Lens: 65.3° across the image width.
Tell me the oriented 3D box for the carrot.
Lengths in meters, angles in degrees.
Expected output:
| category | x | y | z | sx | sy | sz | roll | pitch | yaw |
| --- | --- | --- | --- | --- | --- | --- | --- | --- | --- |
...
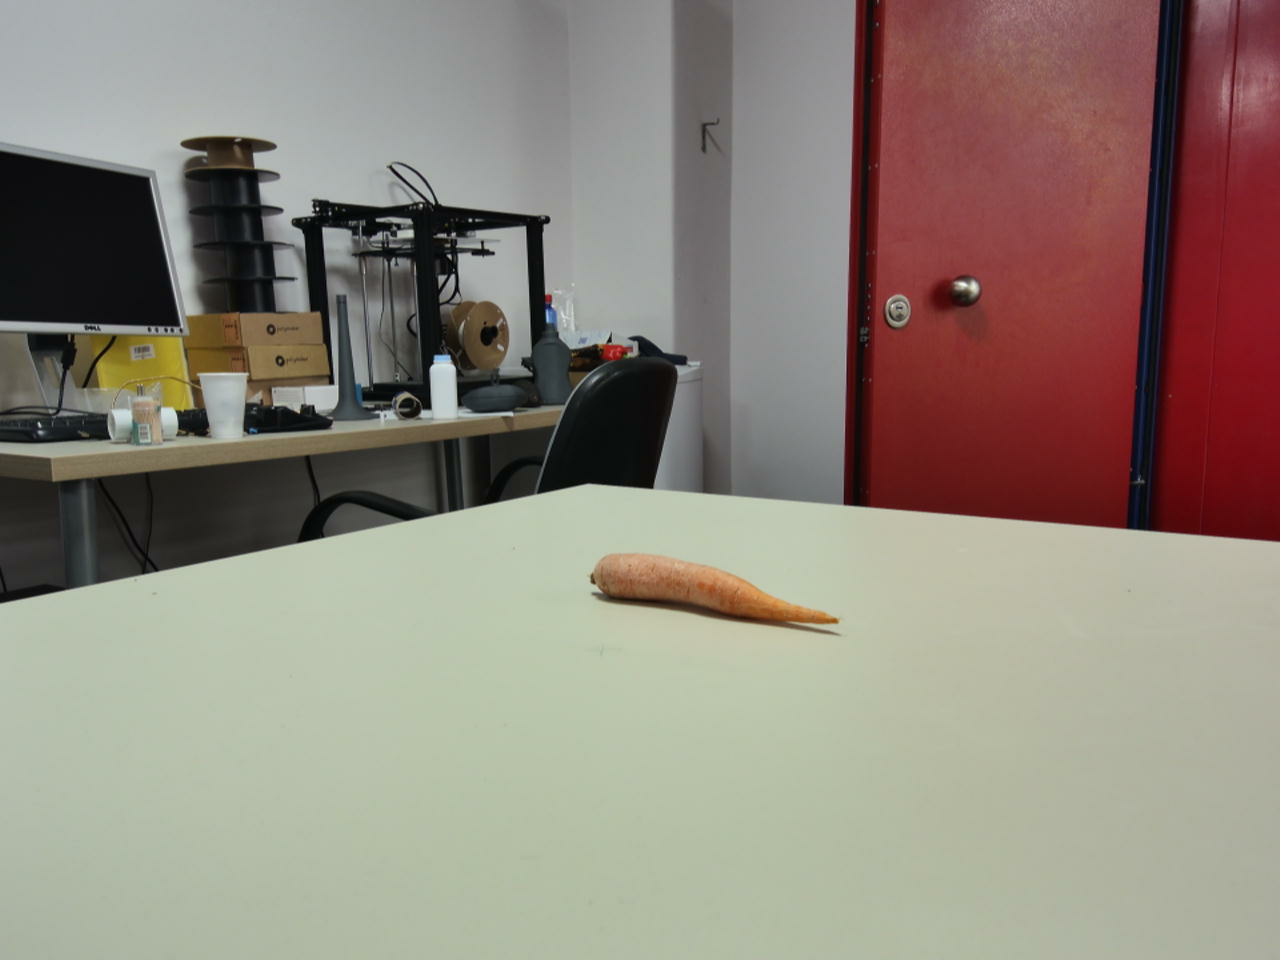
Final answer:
| category | x | y | z | sx | sy | sz | roll | pitch | yaw |
| --- | --- | --- | --- | --- | --- | --- | --- | --- | --- |
| carrot | 0.038 | 0.061 | 0.563 | 0.163 | 0.029 | 0.031 | 5 | 7 | 35 |
